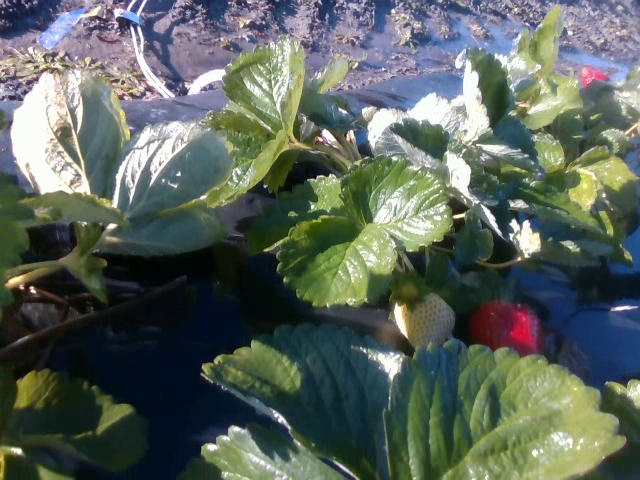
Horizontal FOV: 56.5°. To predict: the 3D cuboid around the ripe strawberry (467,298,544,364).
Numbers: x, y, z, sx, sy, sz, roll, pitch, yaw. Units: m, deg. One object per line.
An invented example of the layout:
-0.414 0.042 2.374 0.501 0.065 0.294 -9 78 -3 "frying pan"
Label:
0.133 0.063 0.384 0.040 0.062 0.080 -39 21 13 "ripe strawberry"
